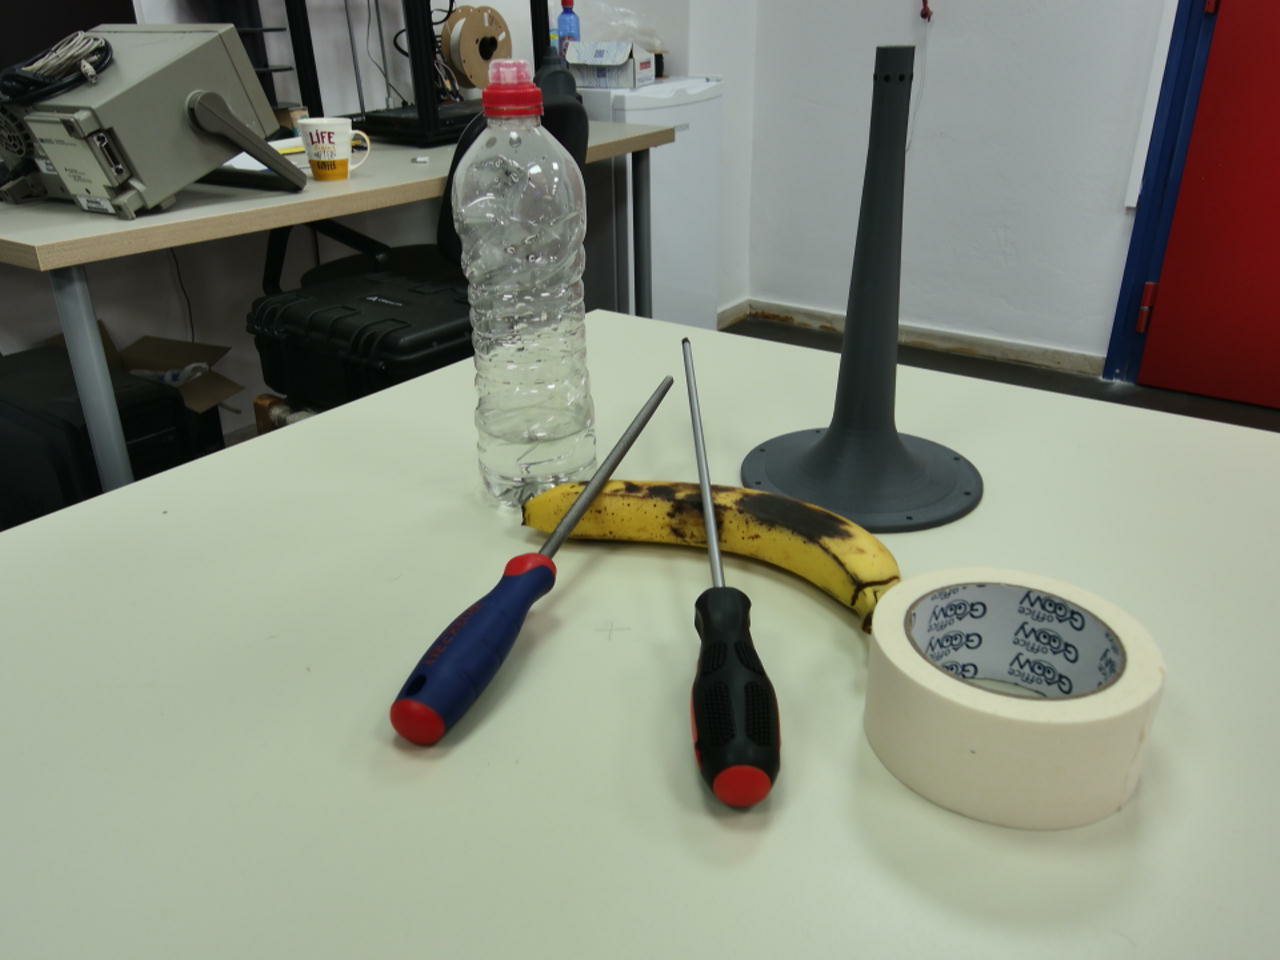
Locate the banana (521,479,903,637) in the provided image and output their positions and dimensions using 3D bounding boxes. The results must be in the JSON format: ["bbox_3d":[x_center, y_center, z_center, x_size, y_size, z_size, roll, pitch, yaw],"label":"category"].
[{"bbox_3d":[0.043,0.029,0.528,0.222,0.037,0.084,17,29,34],"label":"banana"}]
